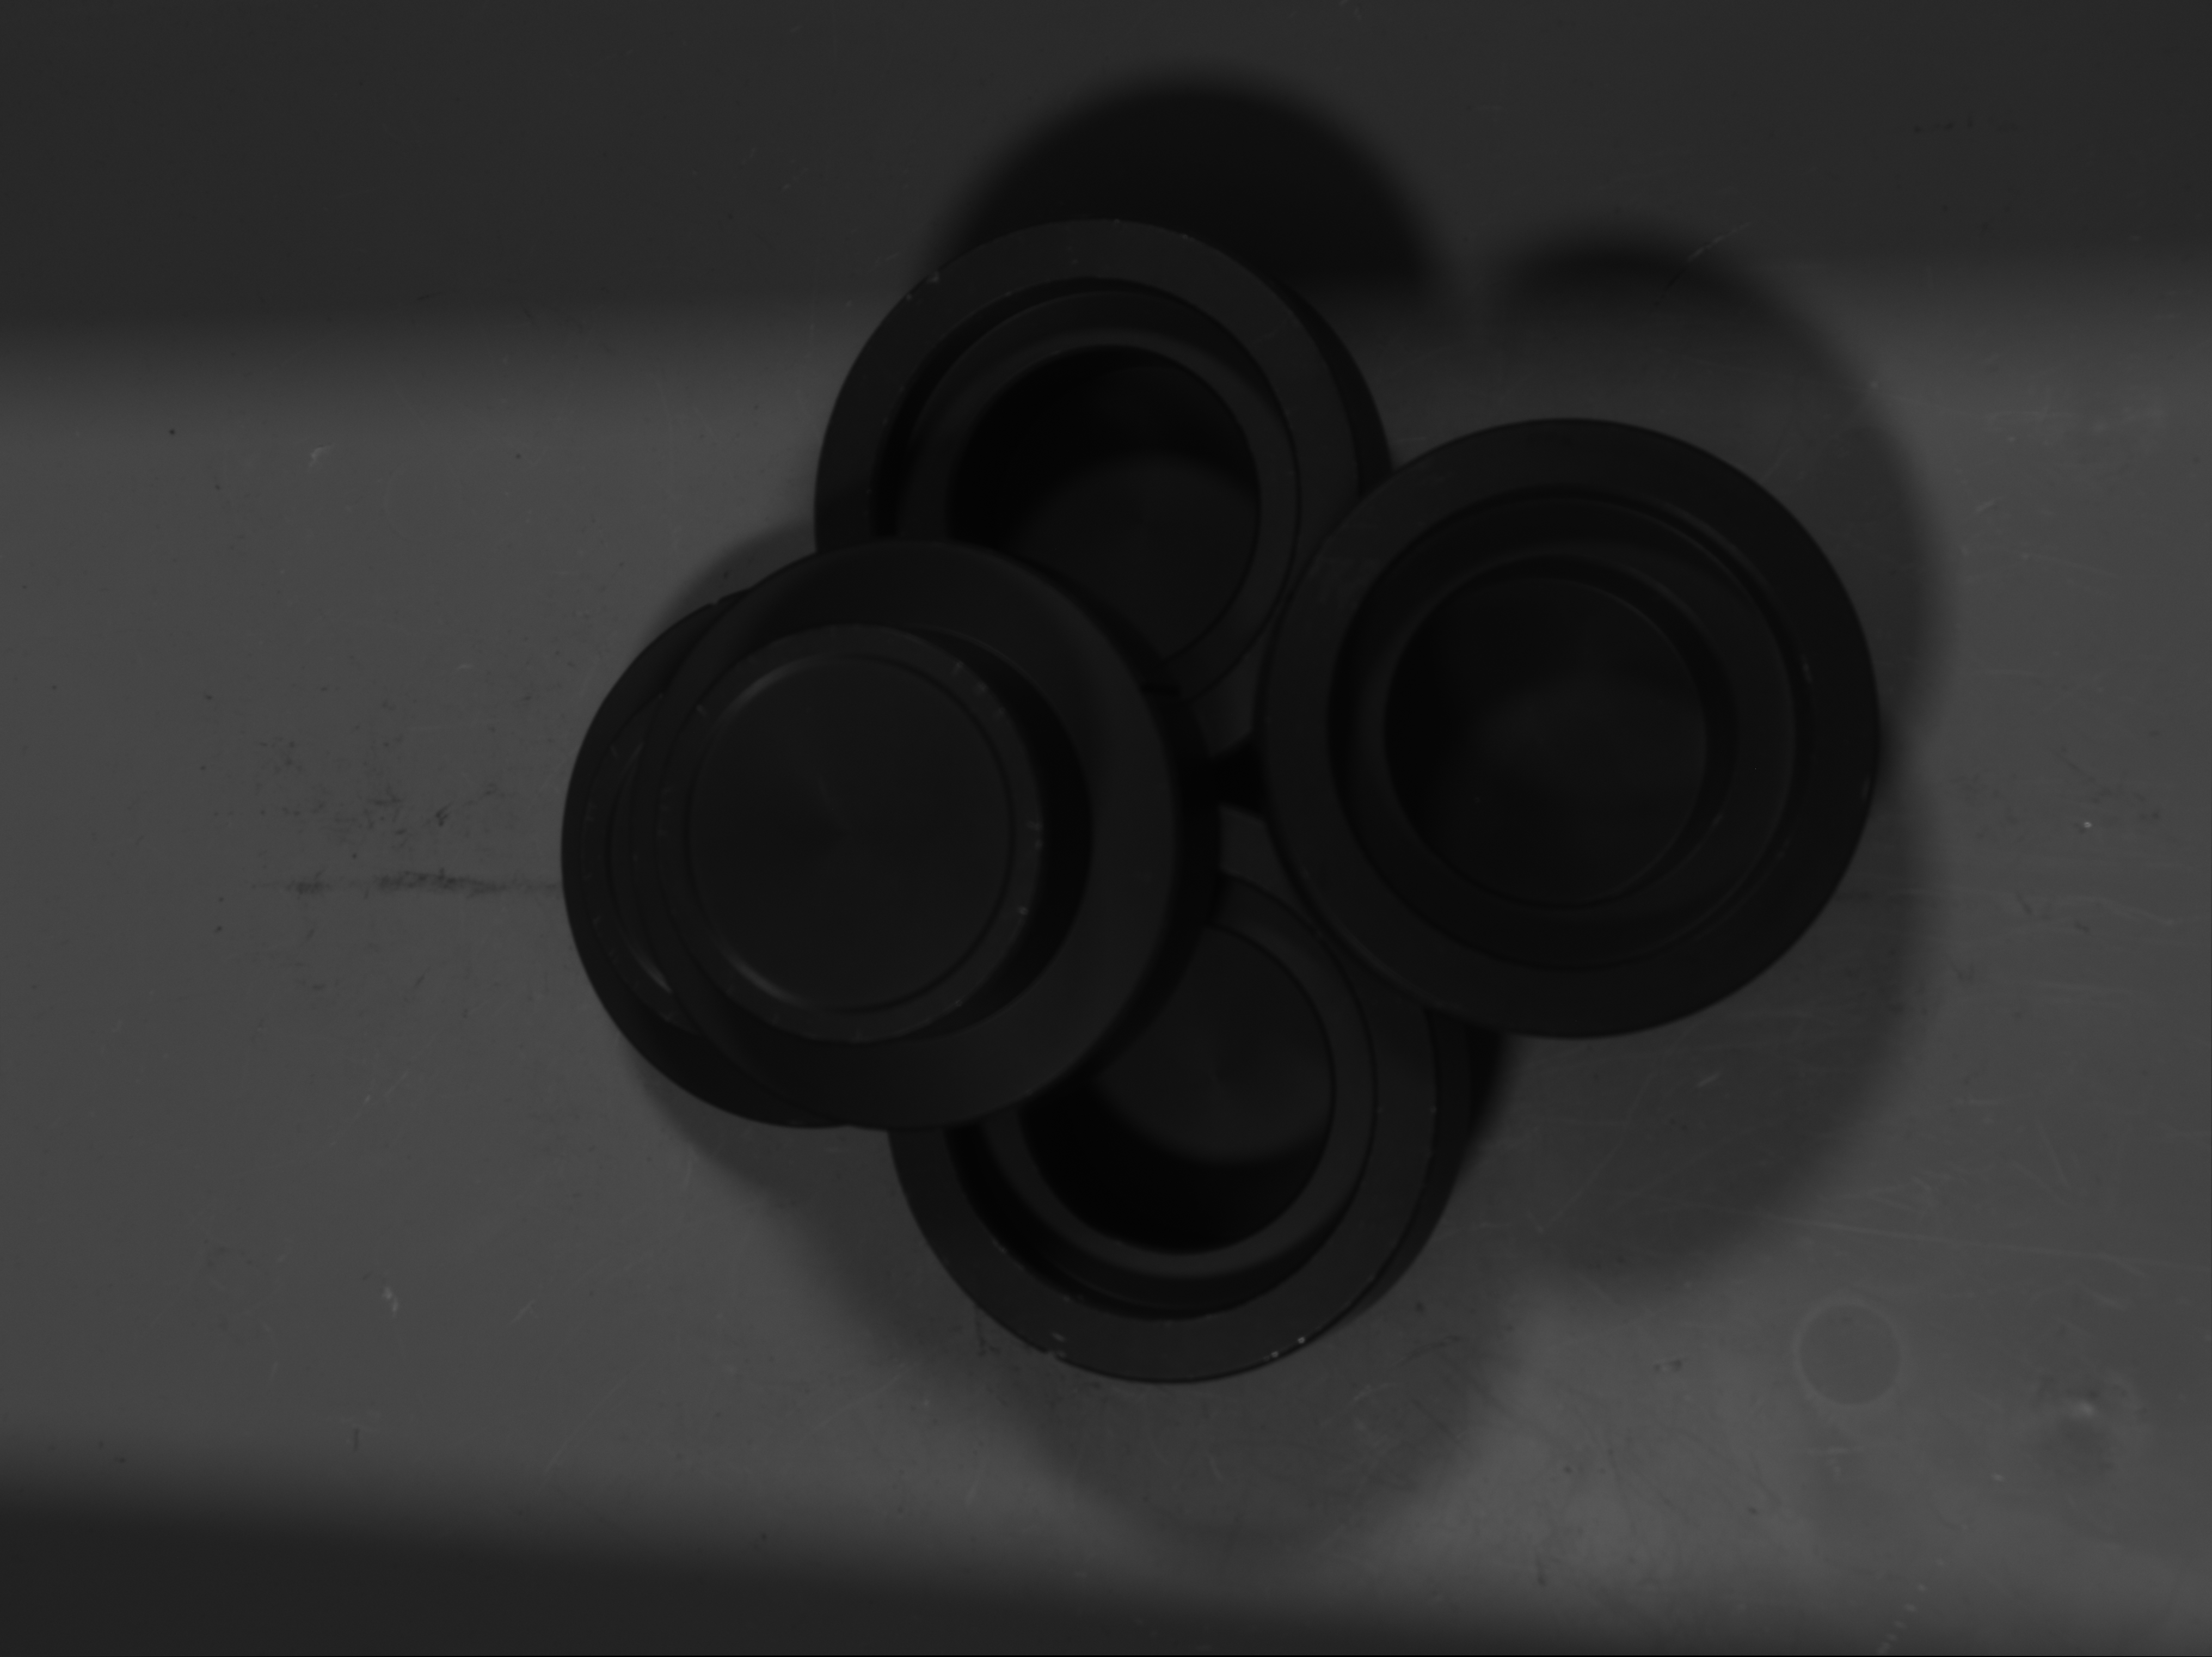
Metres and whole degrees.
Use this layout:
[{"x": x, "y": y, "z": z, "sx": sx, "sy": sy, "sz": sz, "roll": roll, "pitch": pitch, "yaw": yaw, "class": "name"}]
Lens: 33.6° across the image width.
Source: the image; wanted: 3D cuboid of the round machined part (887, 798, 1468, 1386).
[{"x": 0.015, "y": 0.044, "z": 0.628, "sx": 0.098, "sy": 0.042, "sz": 0.098, "roll": 0, "pitch": 90, "yaw": 20, "class": "round machined part"}]

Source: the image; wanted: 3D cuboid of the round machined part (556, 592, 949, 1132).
[{"x": -0.055, "y": 0.005, "z": 0.652, "sx": 0.098, "sy": 0.042, "sz": 0.098, "roll": 0, "pitch": 90, "yaw": 20, "class": "round machined part"}]

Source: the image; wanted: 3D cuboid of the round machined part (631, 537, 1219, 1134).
[{"x": -0.034, "y": 0.001, "z": 0.600, "sx": 0.098, "sy": 0.042, "sz": 0.098, "roll": 0, "pitch": 90, "yaw": 20, "class": "round machined part"}]

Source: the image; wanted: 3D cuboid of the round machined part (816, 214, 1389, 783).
[{"x": 0.003, "y": -0.054, "z": 0.633, "sx": 0.098, "sy": 0.042, "sz": 0.098, "roll": 0, "pitch": 90, "yaw": 20, "class": "round machined part"}]

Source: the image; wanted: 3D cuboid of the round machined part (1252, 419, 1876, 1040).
[{"x": 0.073, "y": -0.015, "z": 0.597, "sx": 0.098, "sy": 0.042, "sz": 0.098, "roll": 0, "pitch": 87, "yaw": -1, "class": "round machined part"}]
